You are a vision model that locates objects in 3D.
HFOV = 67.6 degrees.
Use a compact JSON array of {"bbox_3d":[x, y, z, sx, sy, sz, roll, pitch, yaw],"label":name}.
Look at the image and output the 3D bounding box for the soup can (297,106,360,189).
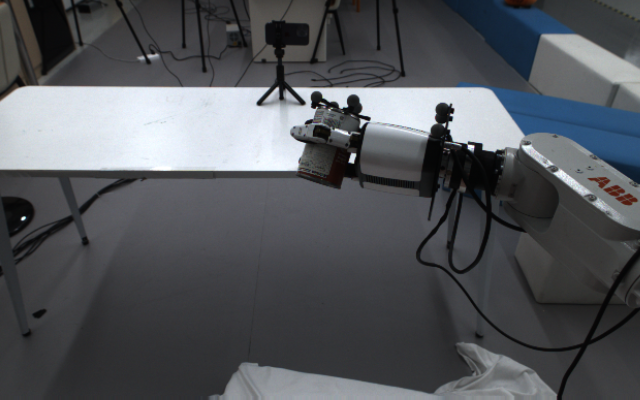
[{"bbox_3d":[0.012,-0.073,0.687,0.067,0.101,0.067,17,-1,0],"label":"soup can"}]
